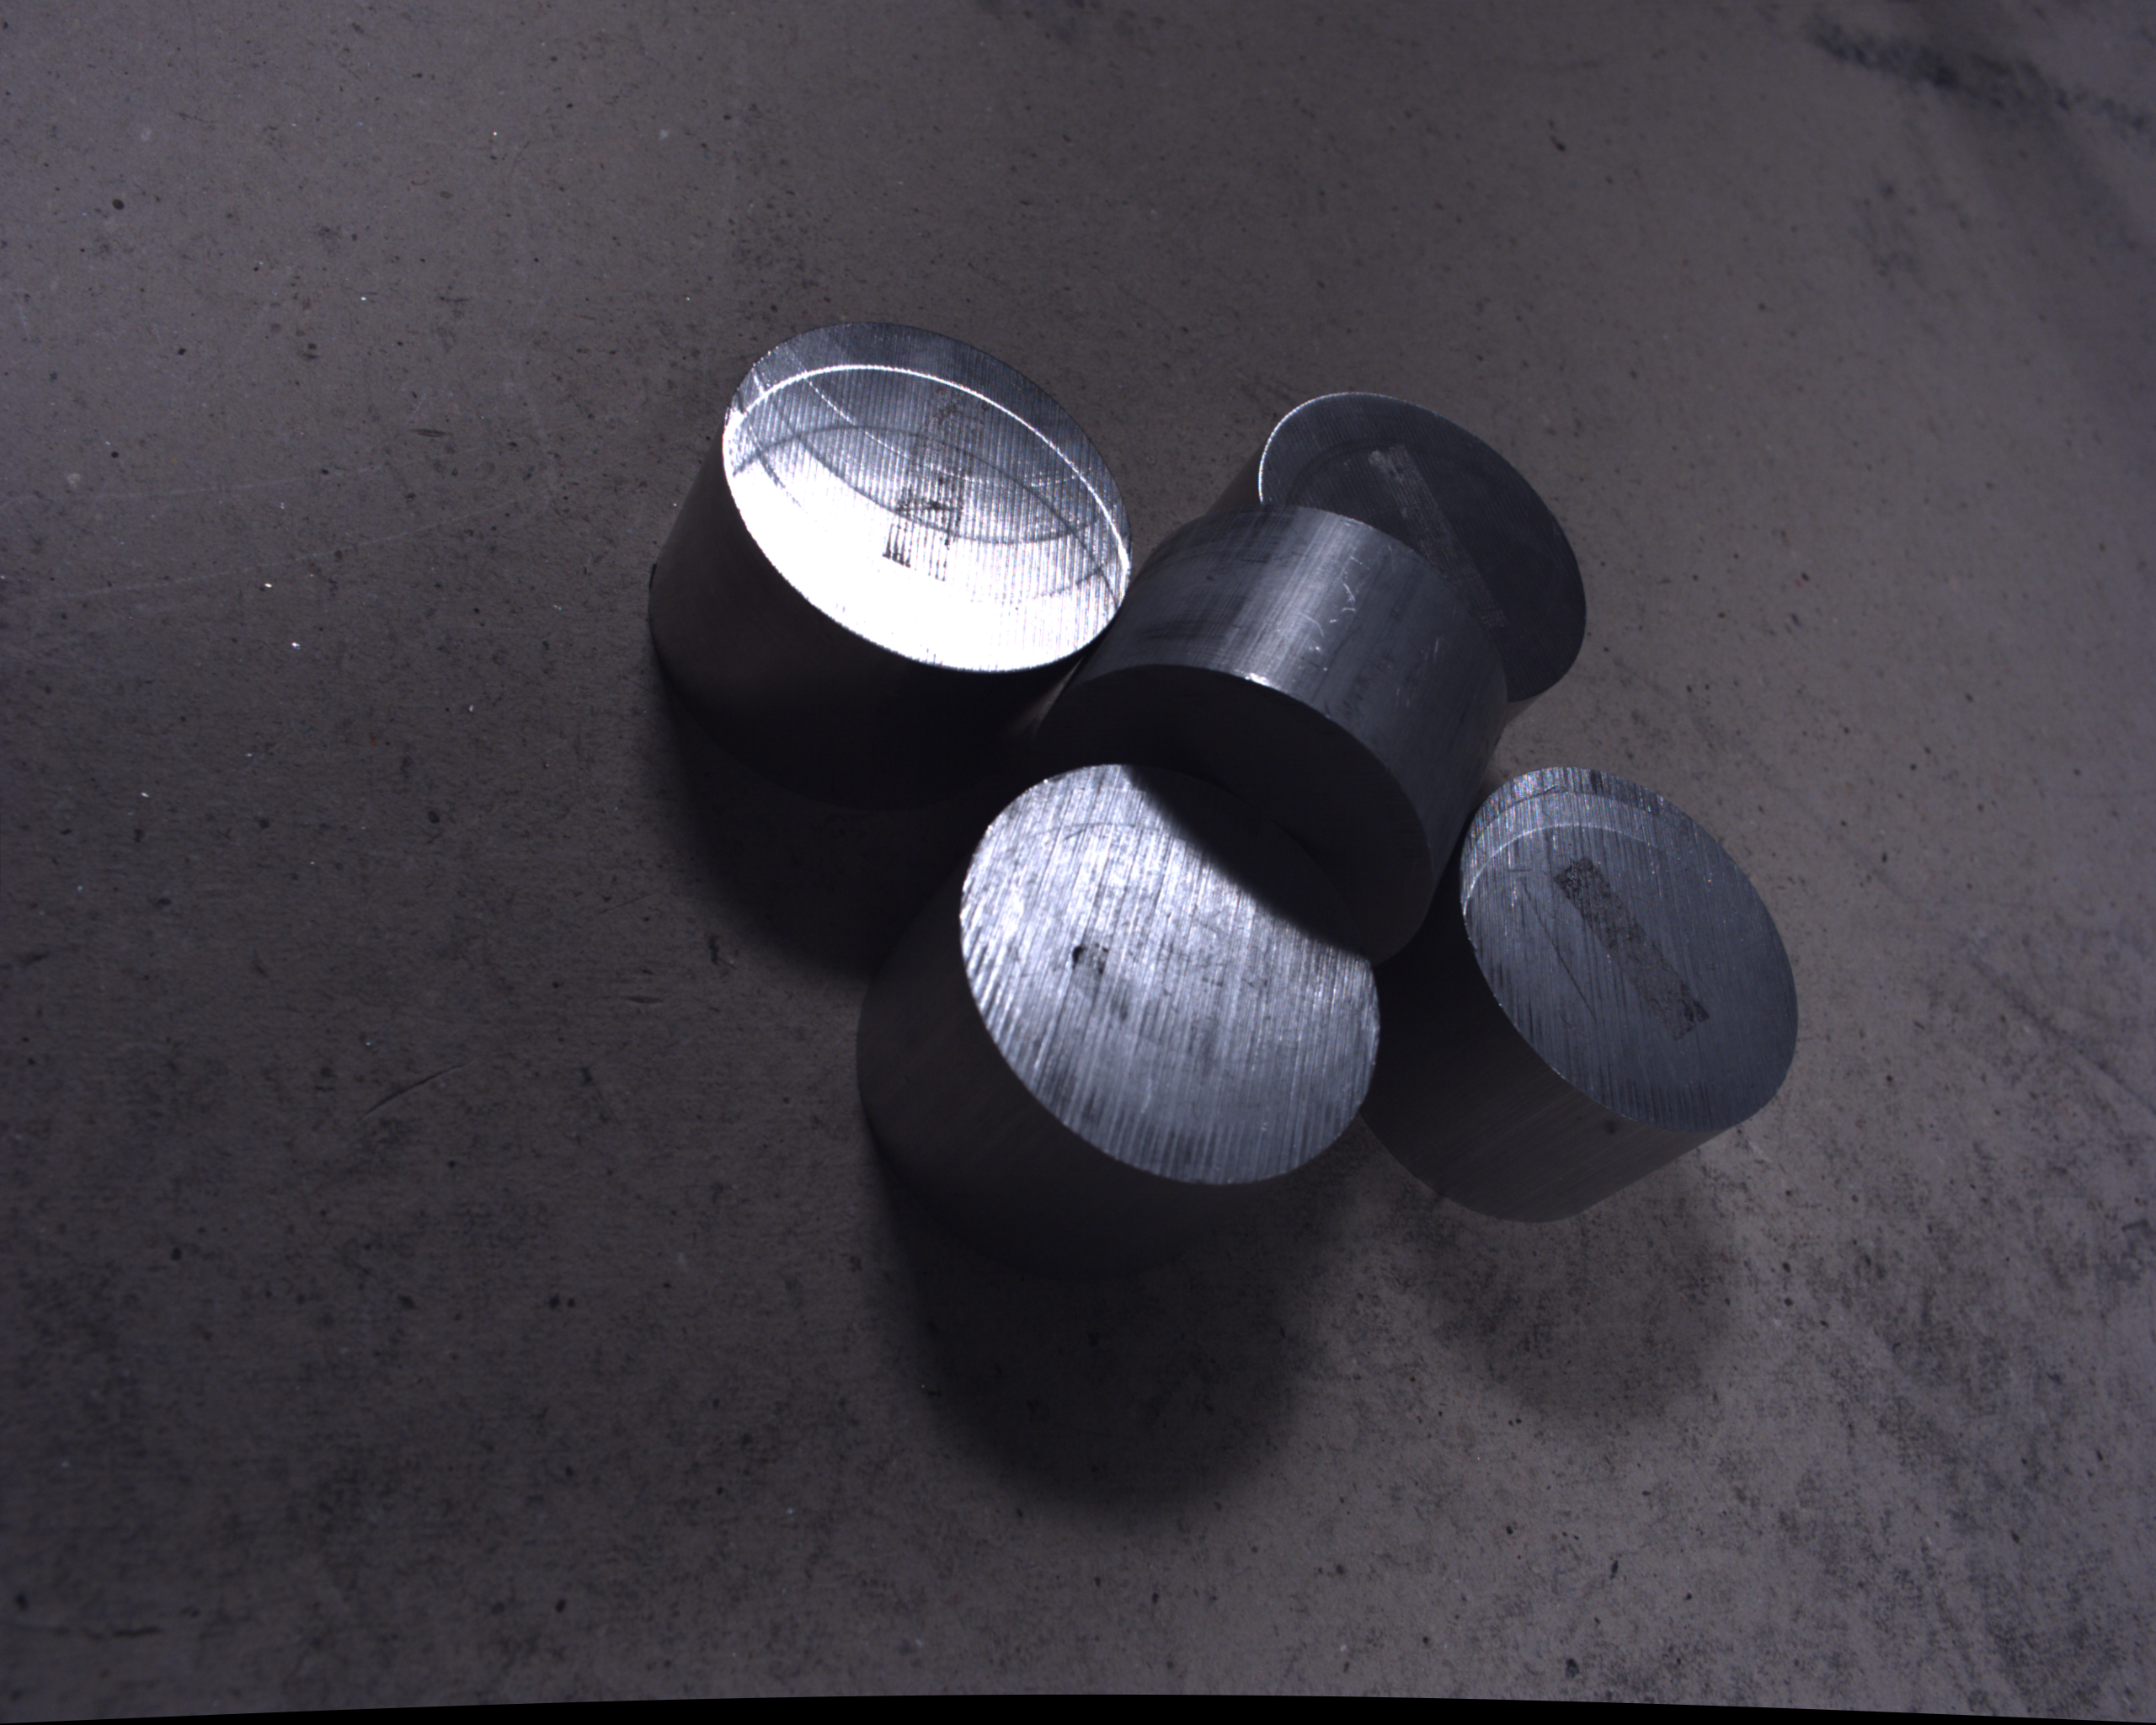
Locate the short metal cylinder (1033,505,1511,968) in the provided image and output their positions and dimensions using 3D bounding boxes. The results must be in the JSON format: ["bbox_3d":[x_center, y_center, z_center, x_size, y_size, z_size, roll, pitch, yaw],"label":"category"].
[{"bbox_3d":[0.038,-0.022,0.406,0.080,0.080,0.050,34,51,-6],"label":"short metal cylinder"}]

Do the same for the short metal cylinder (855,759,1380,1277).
[{"bbox_3d":[0.007,0.028,0.376,0.081,0.050,0.080,14,56,-21],"label":"short metal cylinder"}]

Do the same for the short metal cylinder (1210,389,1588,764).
[{"bbox_3d":[0.063,-0.056,0.457,0.081,0.050,0.080,14,56,-21],"label":"short metal cylinder"}]

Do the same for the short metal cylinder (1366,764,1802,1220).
[{"bbox_3d":[0.099,0.027,0.427,0.081,0.050,0.080,14,56,-21],"label":"short metal cylinder"}]

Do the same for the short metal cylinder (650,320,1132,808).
[{"bbox_3d":[-0.037,-0.057,0.404,0.081,0.050,0.080,14,56,-21],"label":"short metal cylinder"}]
